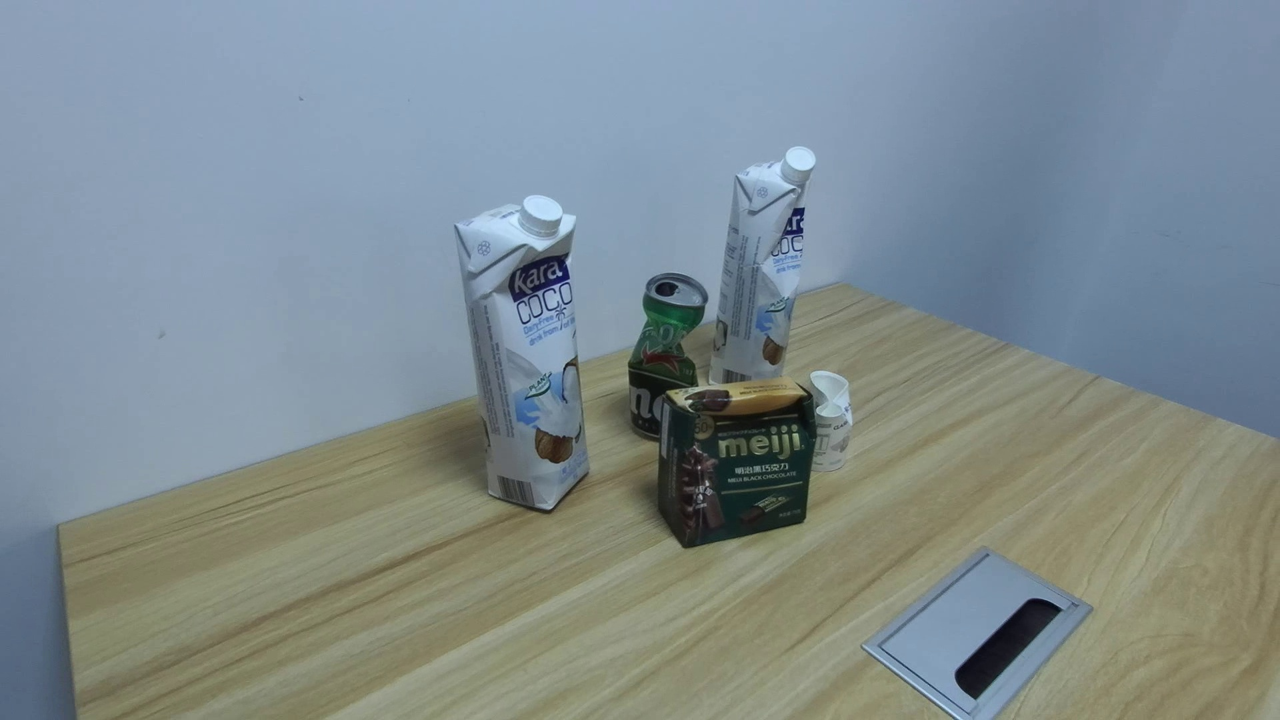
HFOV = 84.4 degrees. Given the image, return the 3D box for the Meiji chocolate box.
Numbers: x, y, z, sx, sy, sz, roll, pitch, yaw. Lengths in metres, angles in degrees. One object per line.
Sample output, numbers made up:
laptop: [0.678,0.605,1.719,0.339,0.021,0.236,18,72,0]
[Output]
Meiji chocolate box: [0.075,0.079,0.561,0.113,0.110,0.058,-6,18,-18]

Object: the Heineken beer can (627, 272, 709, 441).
Heineken beer can: [0.025,0.000,0.658,0.067,0.159,0.078,-21,40,-33]

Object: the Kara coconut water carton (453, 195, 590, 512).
Kara coconut water carton: [-0.086,-0.006,0.559,0.071,0.244,0.100,11,30,23]

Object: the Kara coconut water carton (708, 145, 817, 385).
Kara coconut water carton: [0.123,-0.088,0.724,0.078,0.255,0.083,24,33,35]

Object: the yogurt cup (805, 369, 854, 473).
yogurt cup: [0.164,0.057,0.639,0.054,0.071,0.075,-8,29,-15]
